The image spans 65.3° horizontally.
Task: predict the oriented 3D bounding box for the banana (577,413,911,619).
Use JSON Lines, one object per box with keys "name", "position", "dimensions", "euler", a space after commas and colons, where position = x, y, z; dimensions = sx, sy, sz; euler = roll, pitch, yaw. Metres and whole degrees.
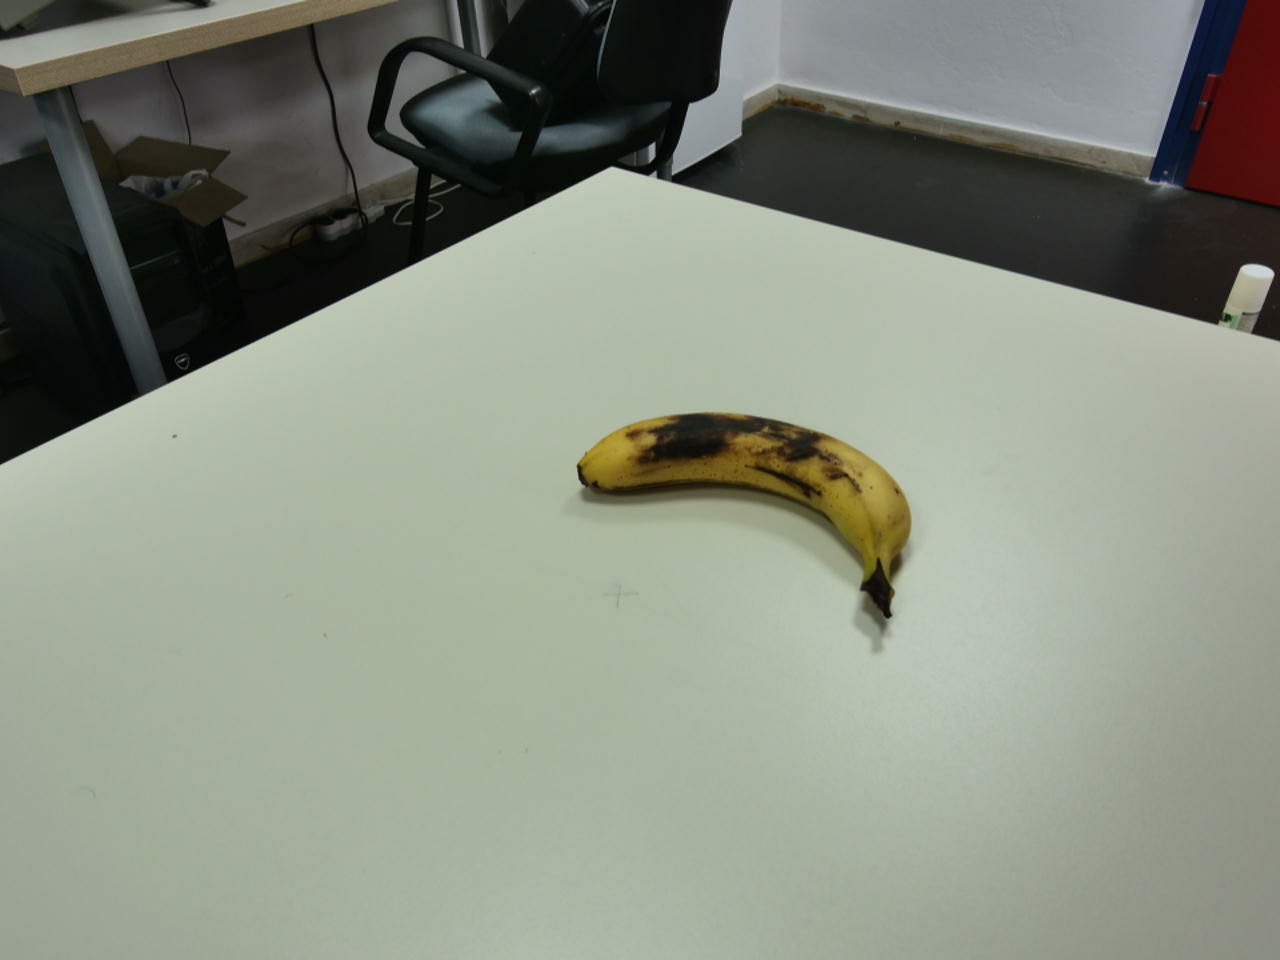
{"name": "banana", "position": [0.064, 0.002, 0.525], "dimensions": [0.187, 0.039, 0.094], "euler": [24, 43, 29]}
